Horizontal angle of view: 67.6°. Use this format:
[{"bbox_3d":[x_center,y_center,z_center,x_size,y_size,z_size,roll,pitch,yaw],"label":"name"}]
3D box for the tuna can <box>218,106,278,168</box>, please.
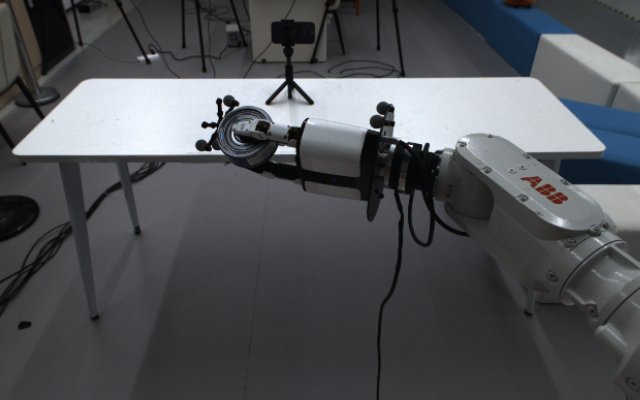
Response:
[{"bbox_3d":[-0.103,-0.094,0.697,0.085,0.034,0.085,-3,70,9],"label":"tuna can"}]
